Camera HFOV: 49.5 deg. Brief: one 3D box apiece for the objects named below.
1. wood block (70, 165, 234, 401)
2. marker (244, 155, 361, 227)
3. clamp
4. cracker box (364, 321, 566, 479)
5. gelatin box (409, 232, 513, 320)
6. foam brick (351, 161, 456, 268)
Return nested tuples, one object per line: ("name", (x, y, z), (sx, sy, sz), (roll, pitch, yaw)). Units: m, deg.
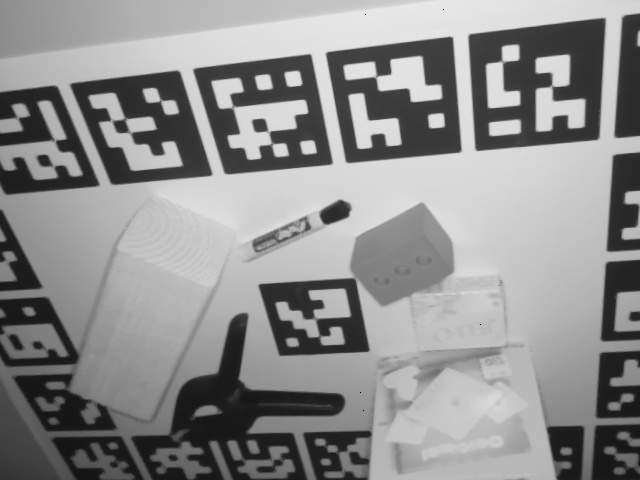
("wood block", (-0.163, 0.046, 0.668), (0.090, 0.092, 0.203), (22, 123, -8))
("marker", (-0.016, -0.045, 0.632), (0.120, 0.020, 0.019), (-26, 112, 20))
("clamp", (-0.090, 0.157, 0.752), (0.200, 0.037, 0.166), (-37, 109, 24))
("cracker box", (0.129, 0.173, 0.624), (0.163, 0.216, 0.072), (-10, 120, 15))
("gelatin box", (0.134, 0.035, 0.659), (0.089, 0.030, 0.073), (-8, 117, 12))
("foam brick", (0.075, -0.022, 0.617), (0.077, 0.052, 0.053), (-31, 110, 22))
